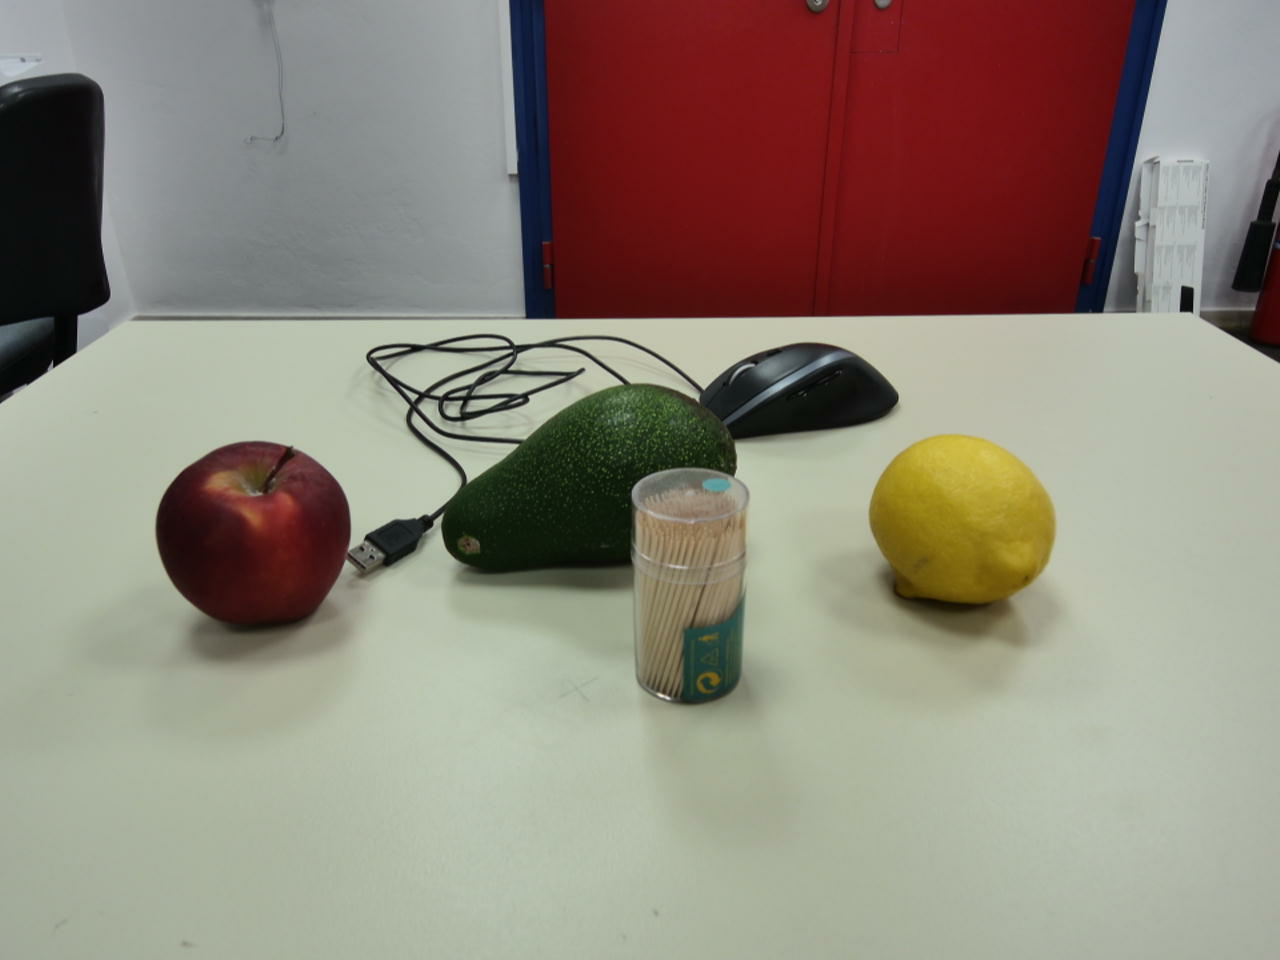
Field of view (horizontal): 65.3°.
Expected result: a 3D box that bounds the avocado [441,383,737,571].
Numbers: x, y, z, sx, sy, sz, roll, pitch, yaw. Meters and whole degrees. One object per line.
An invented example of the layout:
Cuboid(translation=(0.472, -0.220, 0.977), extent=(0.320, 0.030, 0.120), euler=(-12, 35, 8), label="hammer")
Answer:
Cuboid(translation=(-0.021, -0.003, 0.429), extent=(0.123, 0.076, 0.074), euler=(2, 24, 5), label="avocado")
